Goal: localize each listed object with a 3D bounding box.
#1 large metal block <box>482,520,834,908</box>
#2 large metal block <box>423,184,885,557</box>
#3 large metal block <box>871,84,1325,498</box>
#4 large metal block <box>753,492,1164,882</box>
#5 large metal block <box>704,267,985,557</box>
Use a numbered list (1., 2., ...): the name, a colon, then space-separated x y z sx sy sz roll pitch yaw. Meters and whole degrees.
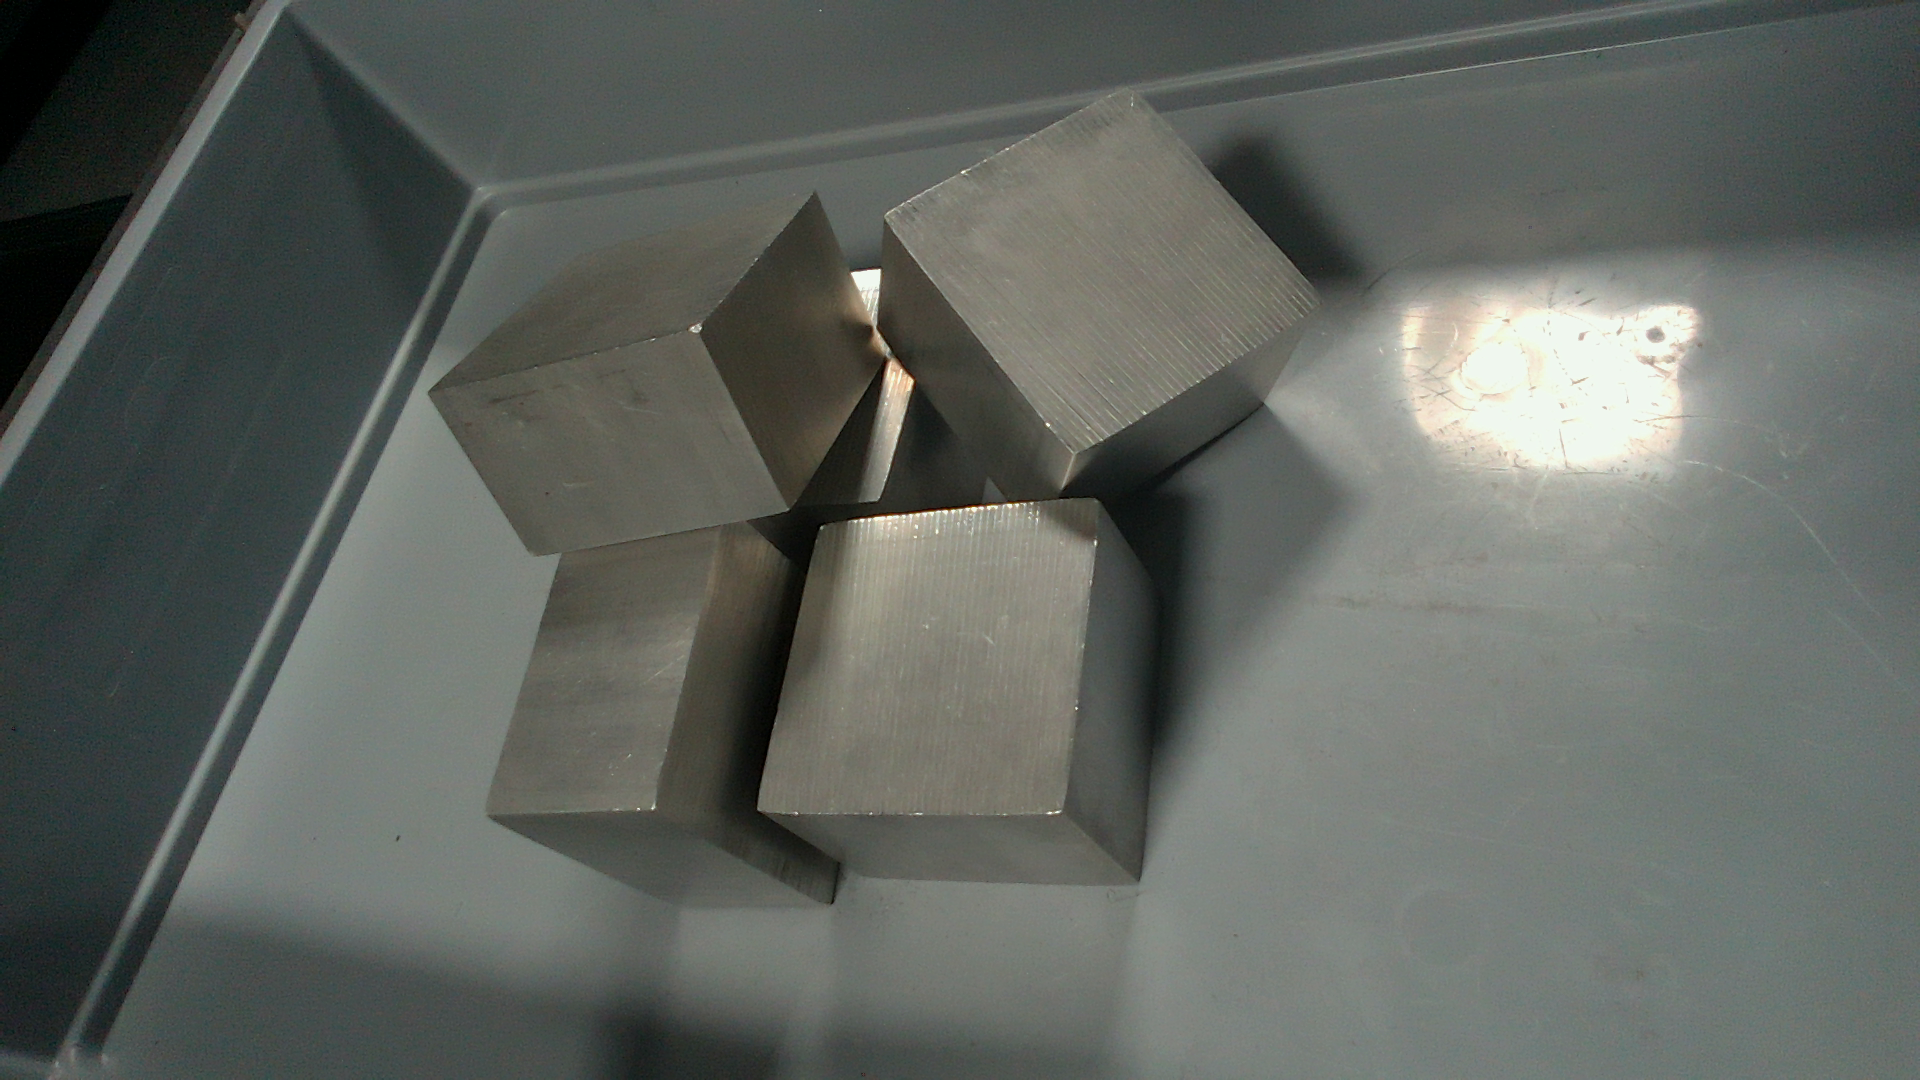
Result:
1. large metal block: -0.069 0.047 0.365 0.050 0.080 0.080 -7 59 25
2. large metal block: -0.075 -0.045 0.360 0.080 0.050 0.080 -9 32 24
3. large metal block: 0.033 -0.060 0.362 0.080 0.050 0.080 -32 73 -19
4. large metal block: 0.003 0.039 0.348 0.080 0.050 0.080 -5 59 26
5. large metal block: -0.037 -0.034 0.417 0.080 0.050 0.080 -1 61 28
